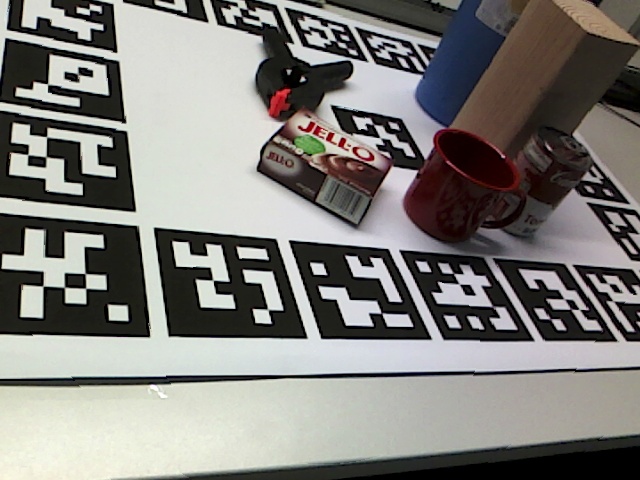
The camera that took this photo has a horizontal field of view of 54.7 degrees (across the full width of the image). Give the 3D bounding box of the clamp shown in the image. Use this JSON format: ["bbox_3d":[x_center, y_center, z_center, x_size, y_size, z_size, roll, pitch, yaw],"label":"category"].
[{"bbox_3d":[-0.025,-0.186,0.714,0.121,0.036,0.165,30,39,-9],"label":"clamp"}]

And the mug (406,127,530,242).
[{"bbox_3d":[0.149,-0.047,0.615,0.117,0.081,0.093,28,37,2],"label":"mug"}]

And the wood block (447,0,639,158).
[{"bbox_3d":[0.241,-0.163,0.693,0.089,0.206,0.091,4,44,-31],"label":"wood block"}]

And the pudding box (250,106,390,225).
[{"bbox_3d":[0.001,-0.074,0.598,0.114,0.038,0.090,29,42,3],"label":"pudding box"}]

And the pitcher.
[{"bbox_3d":[0.235,-0.261,0.772,0.188,0.242,0.134,1,44,-25],"label":"pitcher"}]

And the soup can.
[{"bbox_3d":[0.230,-0.064,0.661,0.067,0.102,0.068,16,43,-16],"label":"soup can"}]
